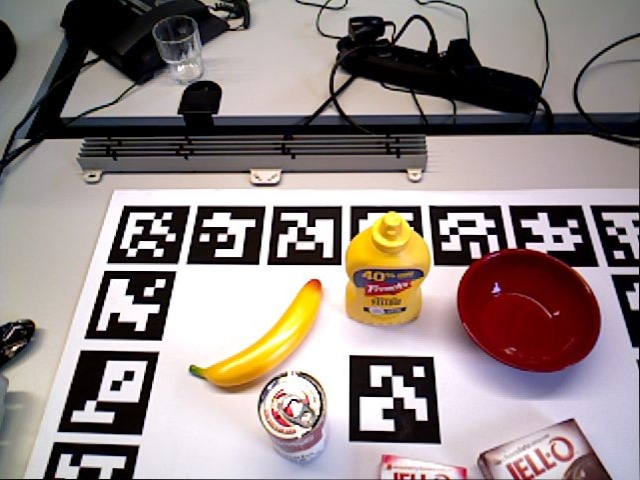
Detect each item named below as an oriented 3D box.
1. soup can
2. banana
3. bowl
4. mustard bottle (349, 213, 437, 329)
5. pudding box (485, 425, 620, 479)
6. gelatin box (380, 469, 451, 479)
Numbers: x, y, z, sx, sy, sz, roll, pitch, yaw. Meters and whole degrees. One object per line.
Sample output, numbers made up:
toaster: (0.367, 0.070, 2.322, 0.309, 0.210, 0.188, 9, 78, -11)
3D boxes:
soup can: (-0.028, 0.179, 0.558, 0.067, 0.104, 0.067, -1, 54, 0)
banana: (-0.064, 0.111, 0.657, 0.194, 0.039, 0.074, -40, 52, -21)
bowl: (0.253, 0.093, 0.640, 0.161, 0.056, 0.159, -3, 55, 3)
mustard bottle: (0.082, 0.028, 0.595, 0.096, 0.195, 0.057, 2, 52, 3)
pudding box: (0.238, 0.250, 0.541, 0.113, 0.039, 0.089, -19, 62, -9)
gelatin box: (0.101, 0.274, 0.540, 0.089, 0.030, 0.072, 6, 60, 9)
